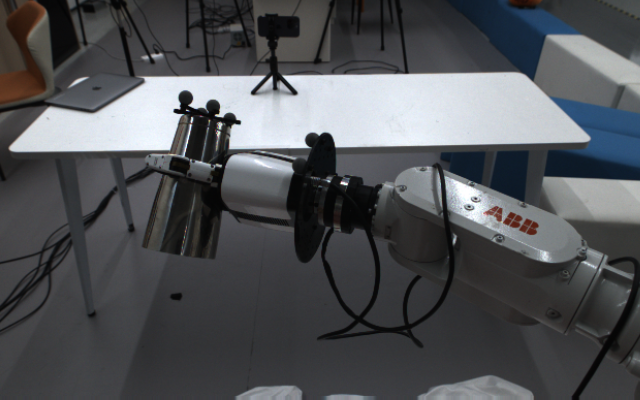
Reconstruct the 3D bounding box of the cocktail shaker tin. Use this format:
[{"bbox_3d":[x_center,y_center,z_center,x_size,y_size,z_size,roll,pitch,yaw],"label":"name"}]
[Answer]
[{"bbox_3d":[-0.162,-0.016,0.617,0.093,0.170,0.093,10,-5,1],"label":"cocktail shaker tin"}]
